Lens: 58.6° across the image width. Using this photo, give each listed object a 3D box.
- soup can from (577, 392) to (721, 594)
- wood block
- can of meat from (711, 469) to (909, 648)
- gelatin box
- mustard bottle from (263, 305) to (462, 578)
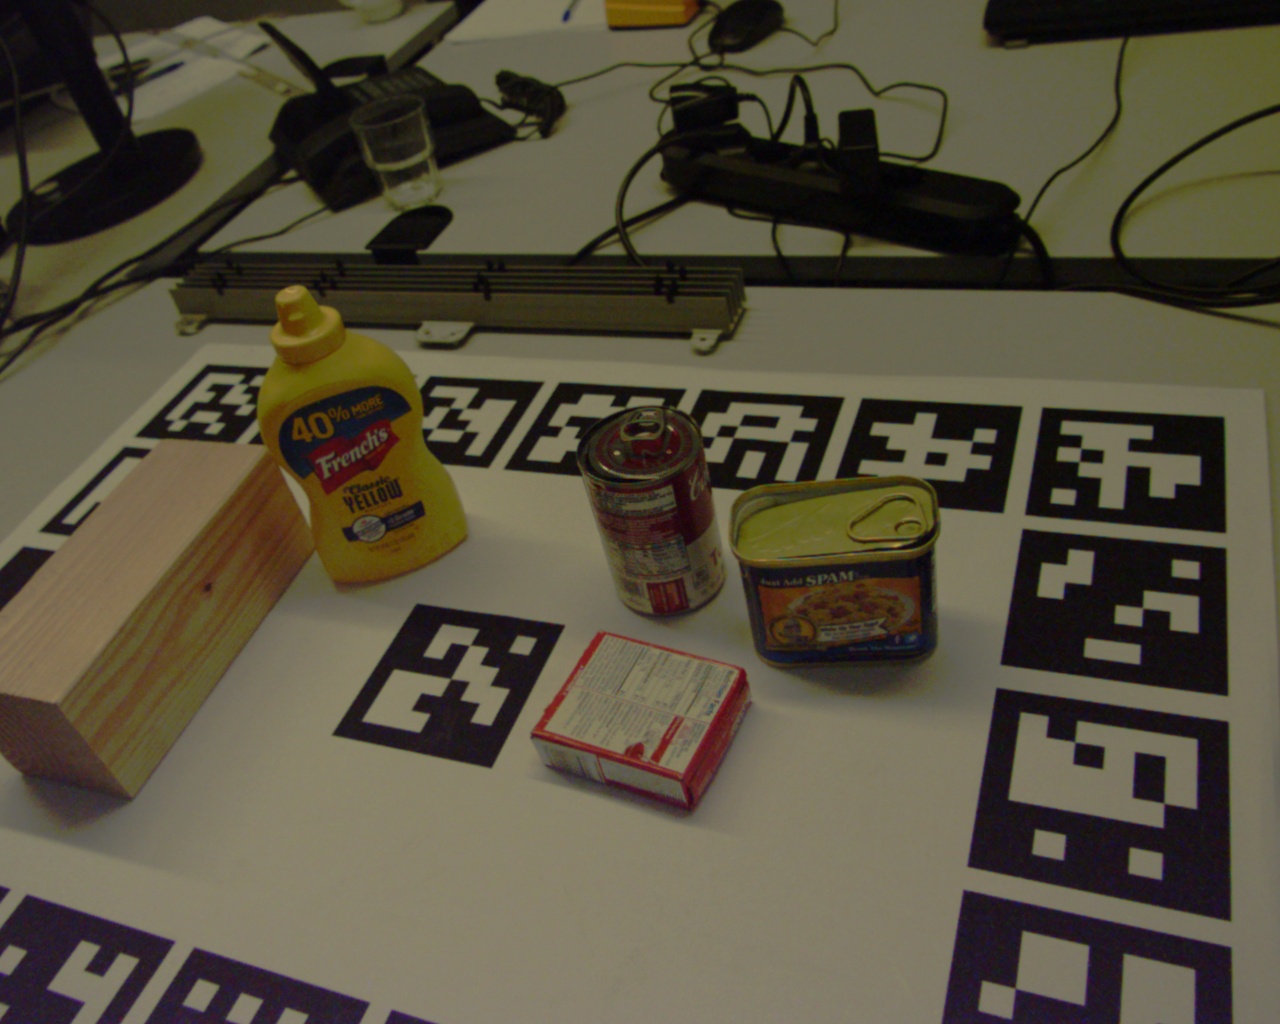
[{"bbox_3d":[0.008,-0.009,0.666,0.068,0.101,0.068,-9,42,8],"label":"soup can"},{"bbox_3d":[-0.298,0.052,0.715,0.092,0.089,0.205,7,41,21],"label":"wood block"},{"bbox_3d":[0.094,0.028,0.626,0.102,0.083,0.058,-3,43,10],"label":"can of meat"},{"bbox_3d":[-0.003,0.101,0.608,0.090,0.030,0.073,12,50,31],"label":"gelatin box"},{"bbox_3d":[-0.181,-0.045,0.717,0.096,0.190,0.059,-11,40,2],"label":"mustard bottle"}]
